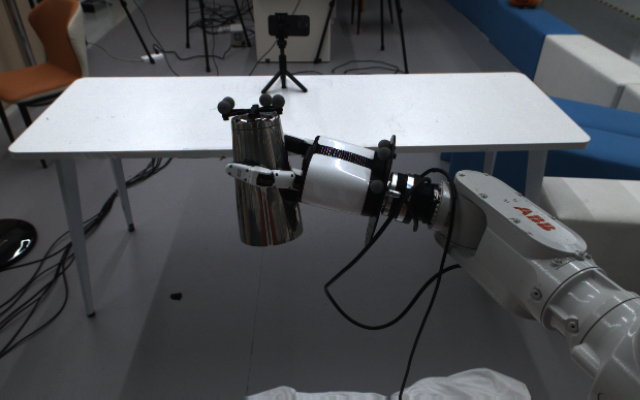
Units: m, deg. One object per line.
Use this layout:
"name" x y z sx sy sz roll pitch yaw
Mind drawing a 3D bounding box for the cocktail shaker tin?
"cocktail shaker tin" -0.079 -0.032 0.672 0.093 0.170 0.093 -6 19 2
